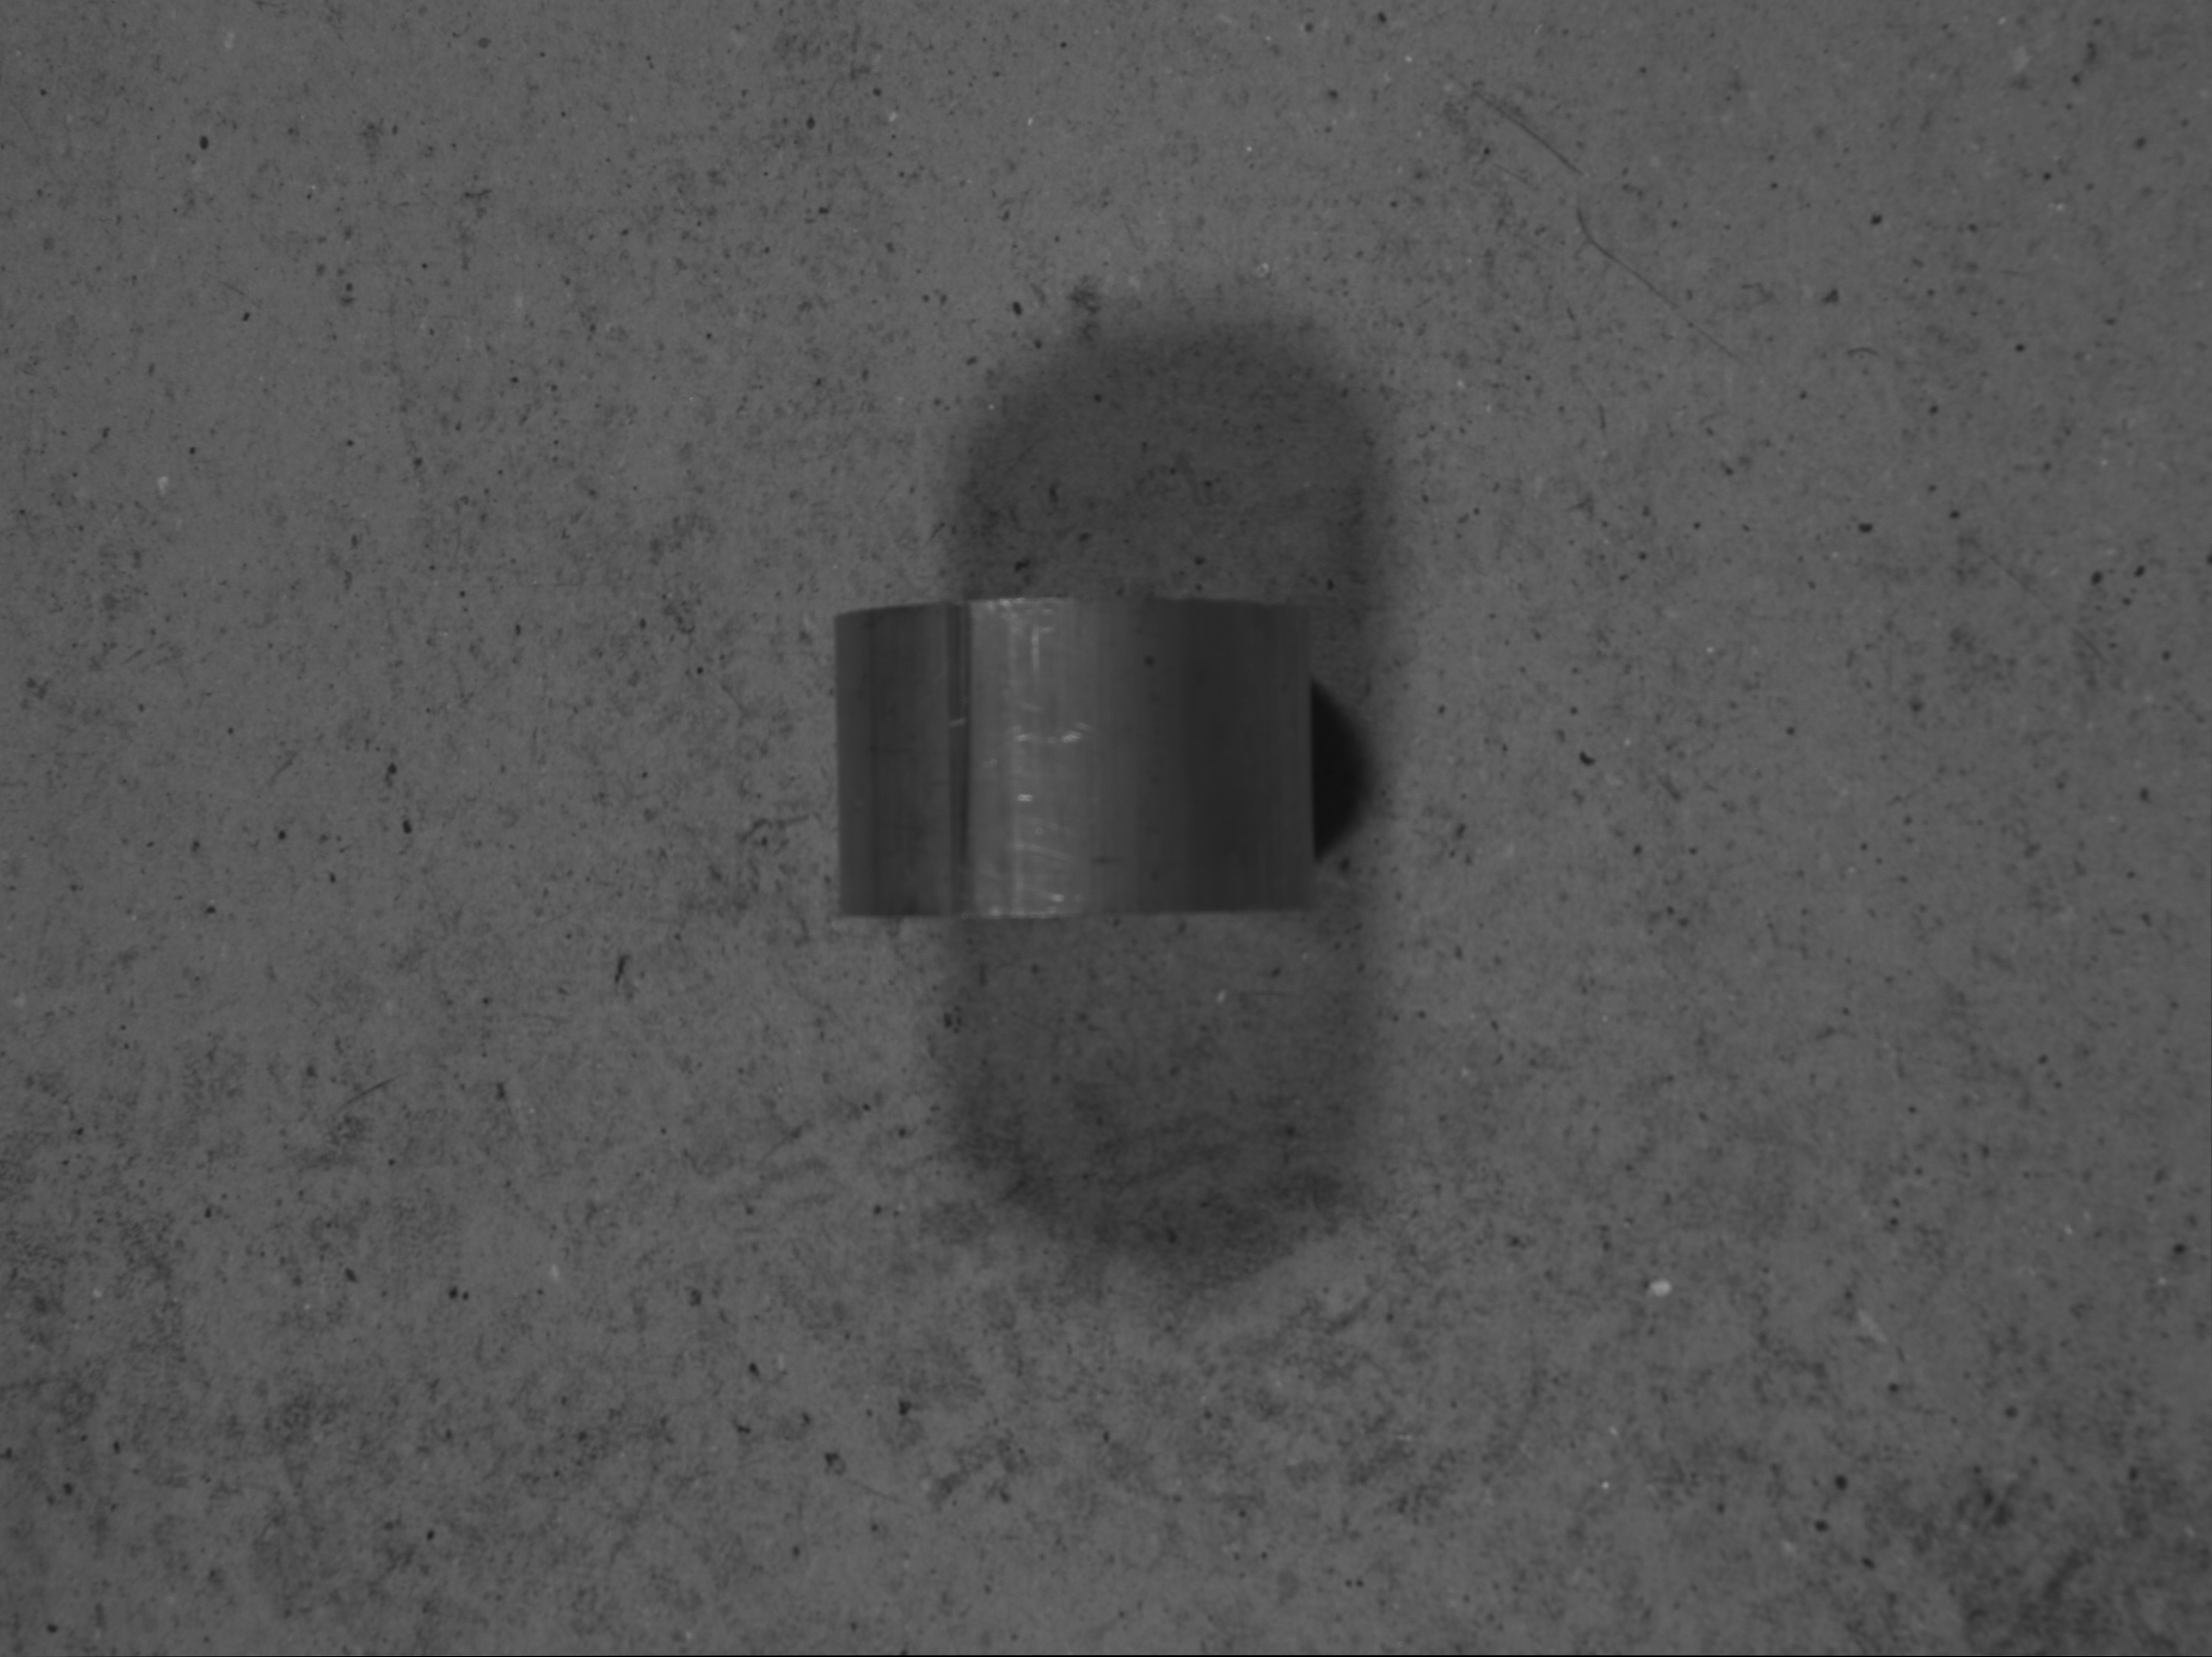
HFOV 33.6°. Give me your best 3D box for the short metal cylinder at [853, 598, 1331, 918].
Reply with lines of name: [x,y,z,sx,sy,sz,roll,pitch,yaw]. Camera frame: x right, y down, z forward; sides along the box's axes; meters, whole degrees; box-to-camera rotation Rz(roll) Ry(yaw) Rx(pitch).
short metal cylinder: [-0.002,-0.011,0.617,0.080,0.080,0.050,-1,89,20]
